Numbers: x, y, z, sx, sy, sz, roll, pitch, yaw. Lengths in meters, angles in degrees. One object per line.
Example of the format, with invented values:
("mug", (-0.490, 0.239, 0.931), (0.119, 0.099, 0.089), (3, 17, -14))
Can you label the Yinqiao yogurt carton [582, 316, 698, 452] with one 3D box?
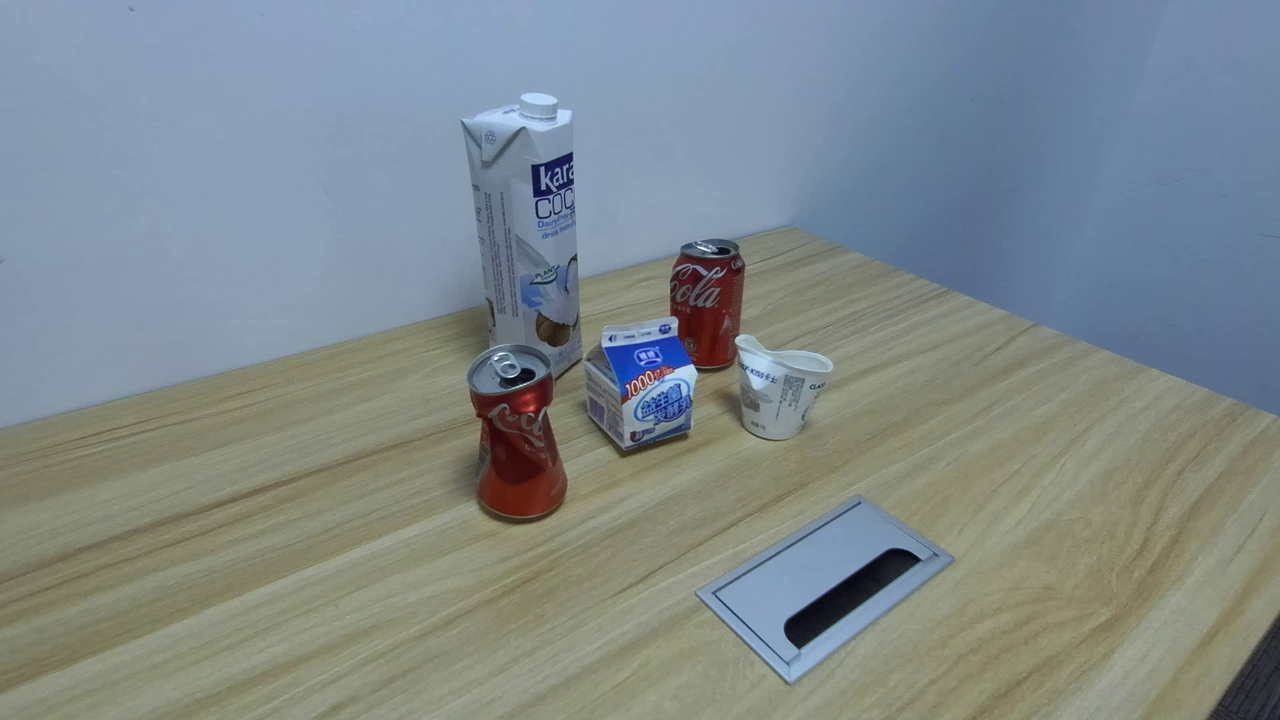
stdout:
("Yinqiao yogurt carton", (0.003, 0.013, 0.567), (0.075, 0.097, 0.080), (-14, 27, -26))

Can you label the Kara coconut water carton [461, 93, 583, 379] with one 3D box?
("Kara coconut water carton", (-0.097, -0.100, 0.612), (0.075, 0.245, 0.077), (14, 33, 23))

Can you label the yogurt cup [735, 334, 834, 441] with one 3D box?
("yogurt cup", (0.113, 0.022, 0.581), (0.075, 0.071, 0.053), (5, 30, 5))

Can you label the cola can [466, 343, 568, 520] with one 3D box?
("cola can", (-0.085, 0.049, 0.490), (0.065, 0.112, 0.069), (2, 31, 2))

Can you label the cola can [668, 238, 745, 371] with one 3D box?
("cola can", (0.064, -0.052, 0.665), (0.072, 0.117, 0.065), (-20, 38, -31))
